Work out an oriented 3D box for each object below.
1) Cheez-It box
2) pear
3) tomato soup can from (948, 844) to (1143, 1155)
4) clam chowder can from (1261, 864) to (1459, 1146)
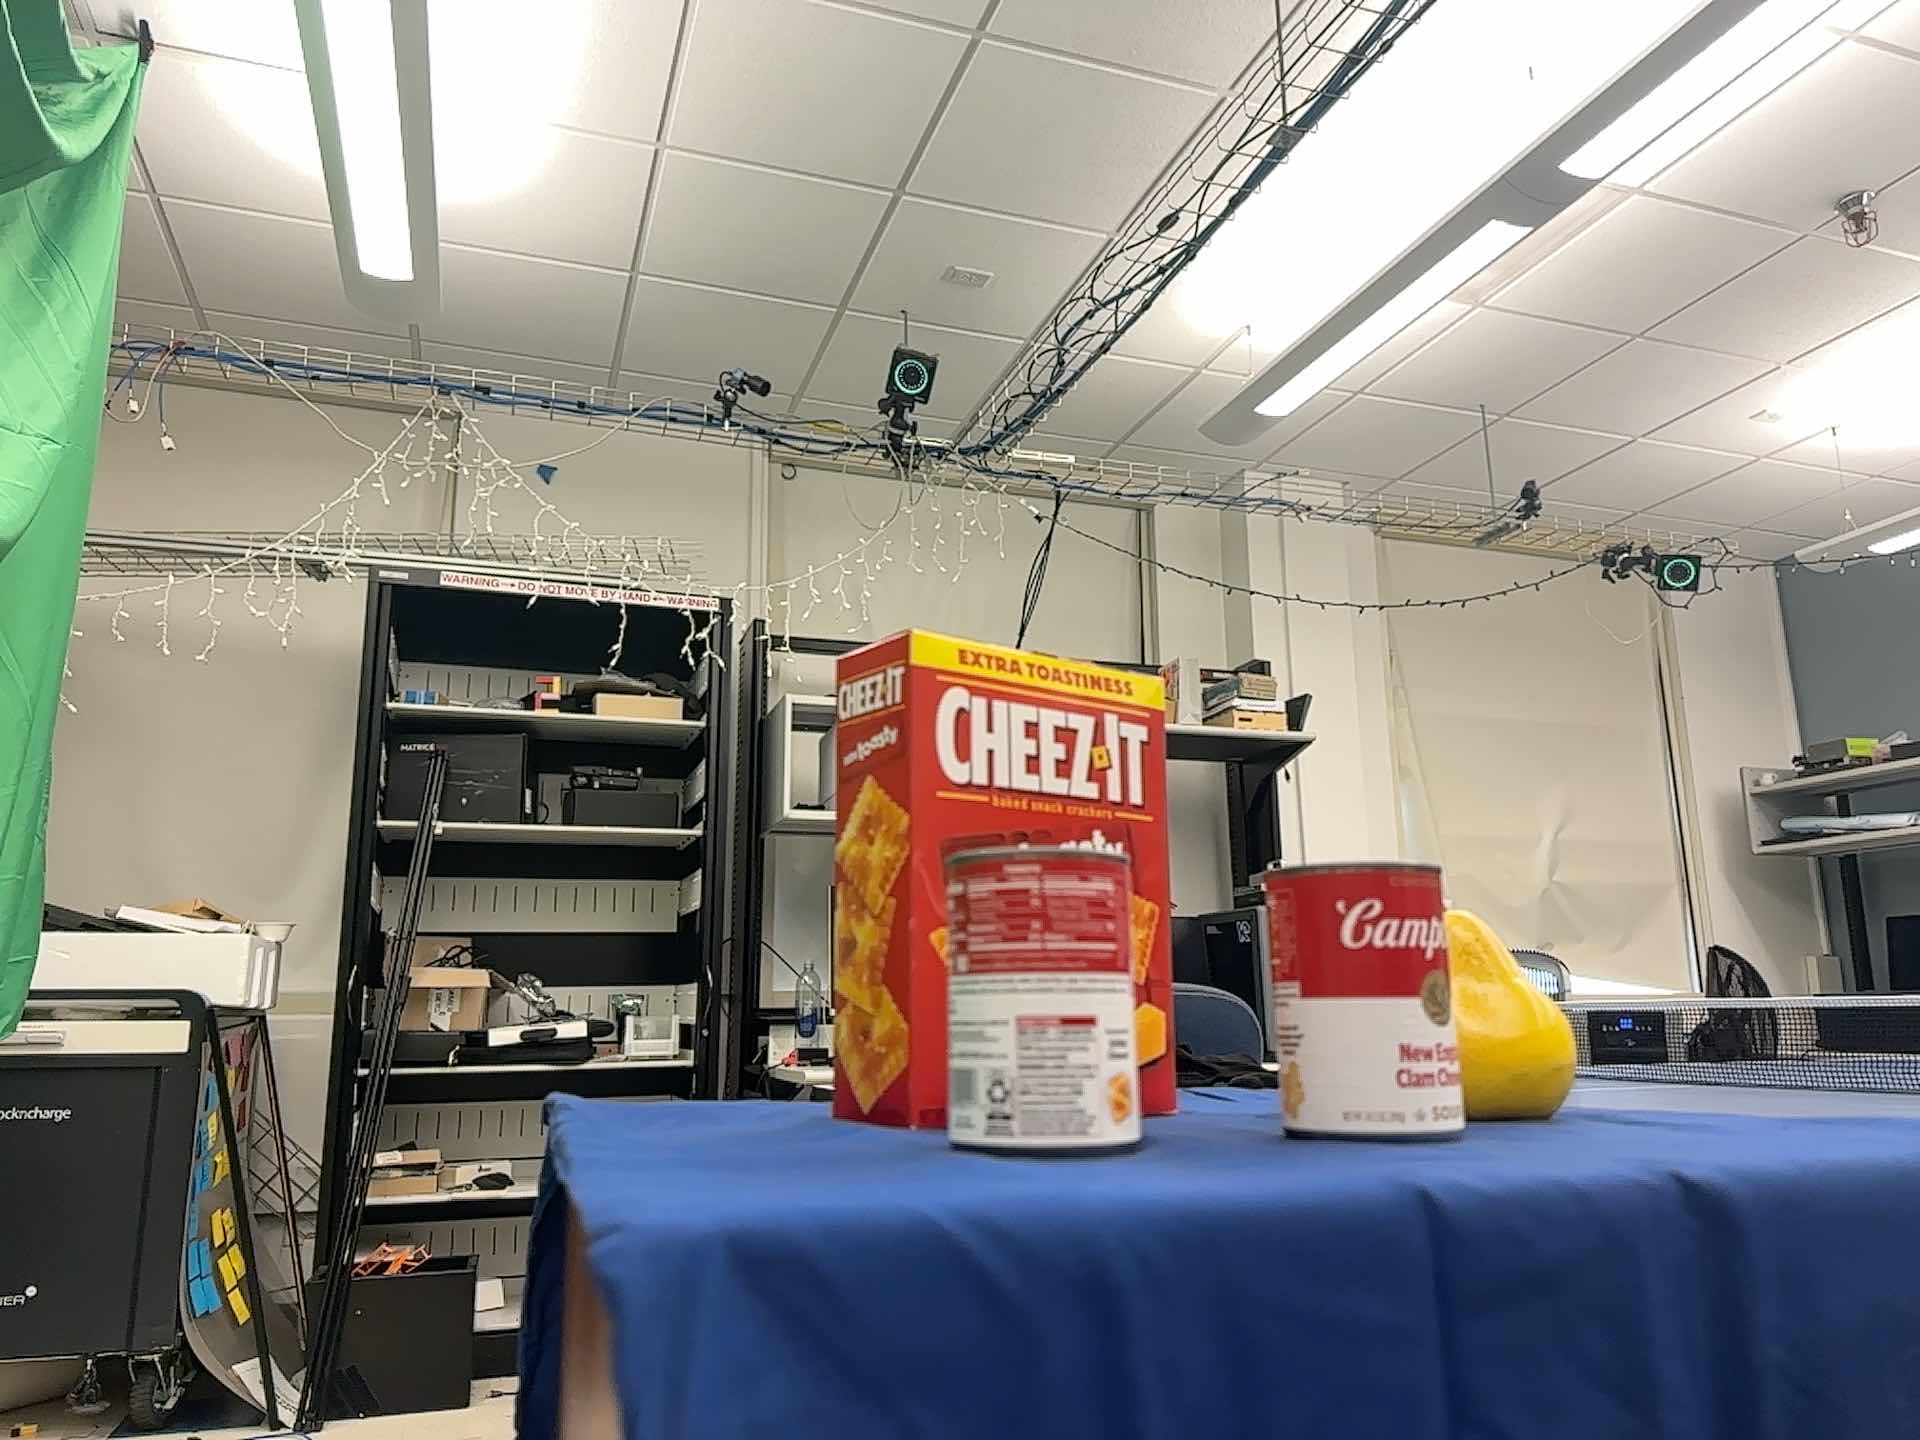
[{"bbox_3d":[0.020,0.079,0.642,0.159,0.214,0.062,9,-14,-36],"label":"Cheez-It box"},{"bbox_3d":[0.231,0.125,0.607,0.080,0.111,0.080,2,-12,0],"label":"pear"},{"bbox_3d":[0.030,0.098,0.476,0.067,0.102,0.067,-1,-13,0],"label":"tomato soup can"},{"bbox_3d":[0.155,0.110,0.525,0.068,0.102,0.068,-1,-12,0],"label":"clam chowder can"}]
